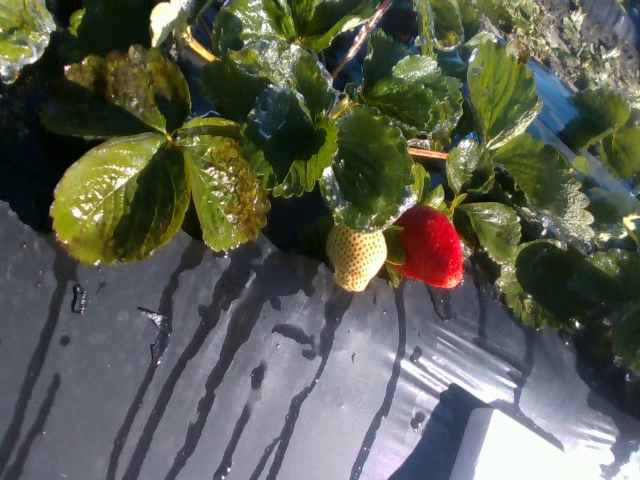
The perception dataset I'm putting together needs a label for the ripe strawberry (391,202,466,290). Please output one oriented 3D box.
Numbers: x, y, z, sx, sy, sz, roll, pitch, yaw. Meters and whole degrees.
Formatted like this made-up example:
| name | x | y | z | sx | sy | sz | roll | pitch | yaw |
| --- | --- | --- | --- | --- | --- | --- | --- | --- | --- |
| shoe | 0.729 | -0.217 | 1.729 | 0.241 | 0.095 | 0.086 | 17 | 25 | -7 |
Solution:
| name | x | y | z | sx | sy | sz | roll | pitch | yaw |
| --- | --- | --- | --- | --- | --- | --- | --- | --- | --- |
| ripe strawberry | 0.061 | 0.012 | 0.334 | 0.042 | 0.046 | 0.061 | 20 | 27 | -20 |
